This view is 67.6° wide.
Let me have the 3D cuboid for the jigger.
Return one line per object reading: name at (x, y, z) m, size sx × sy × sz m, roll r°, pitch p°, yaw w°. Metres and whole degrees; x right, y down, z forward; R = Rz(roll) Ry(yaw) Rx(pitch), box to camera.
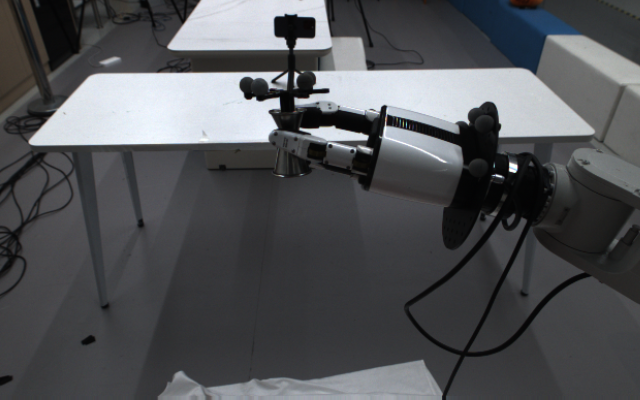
jigger at (-0.032, -0.062, 0.519) m, size 0.043 × 0.071 × 0.043 m, roll -2°, pitch 19°, yaw 1°
